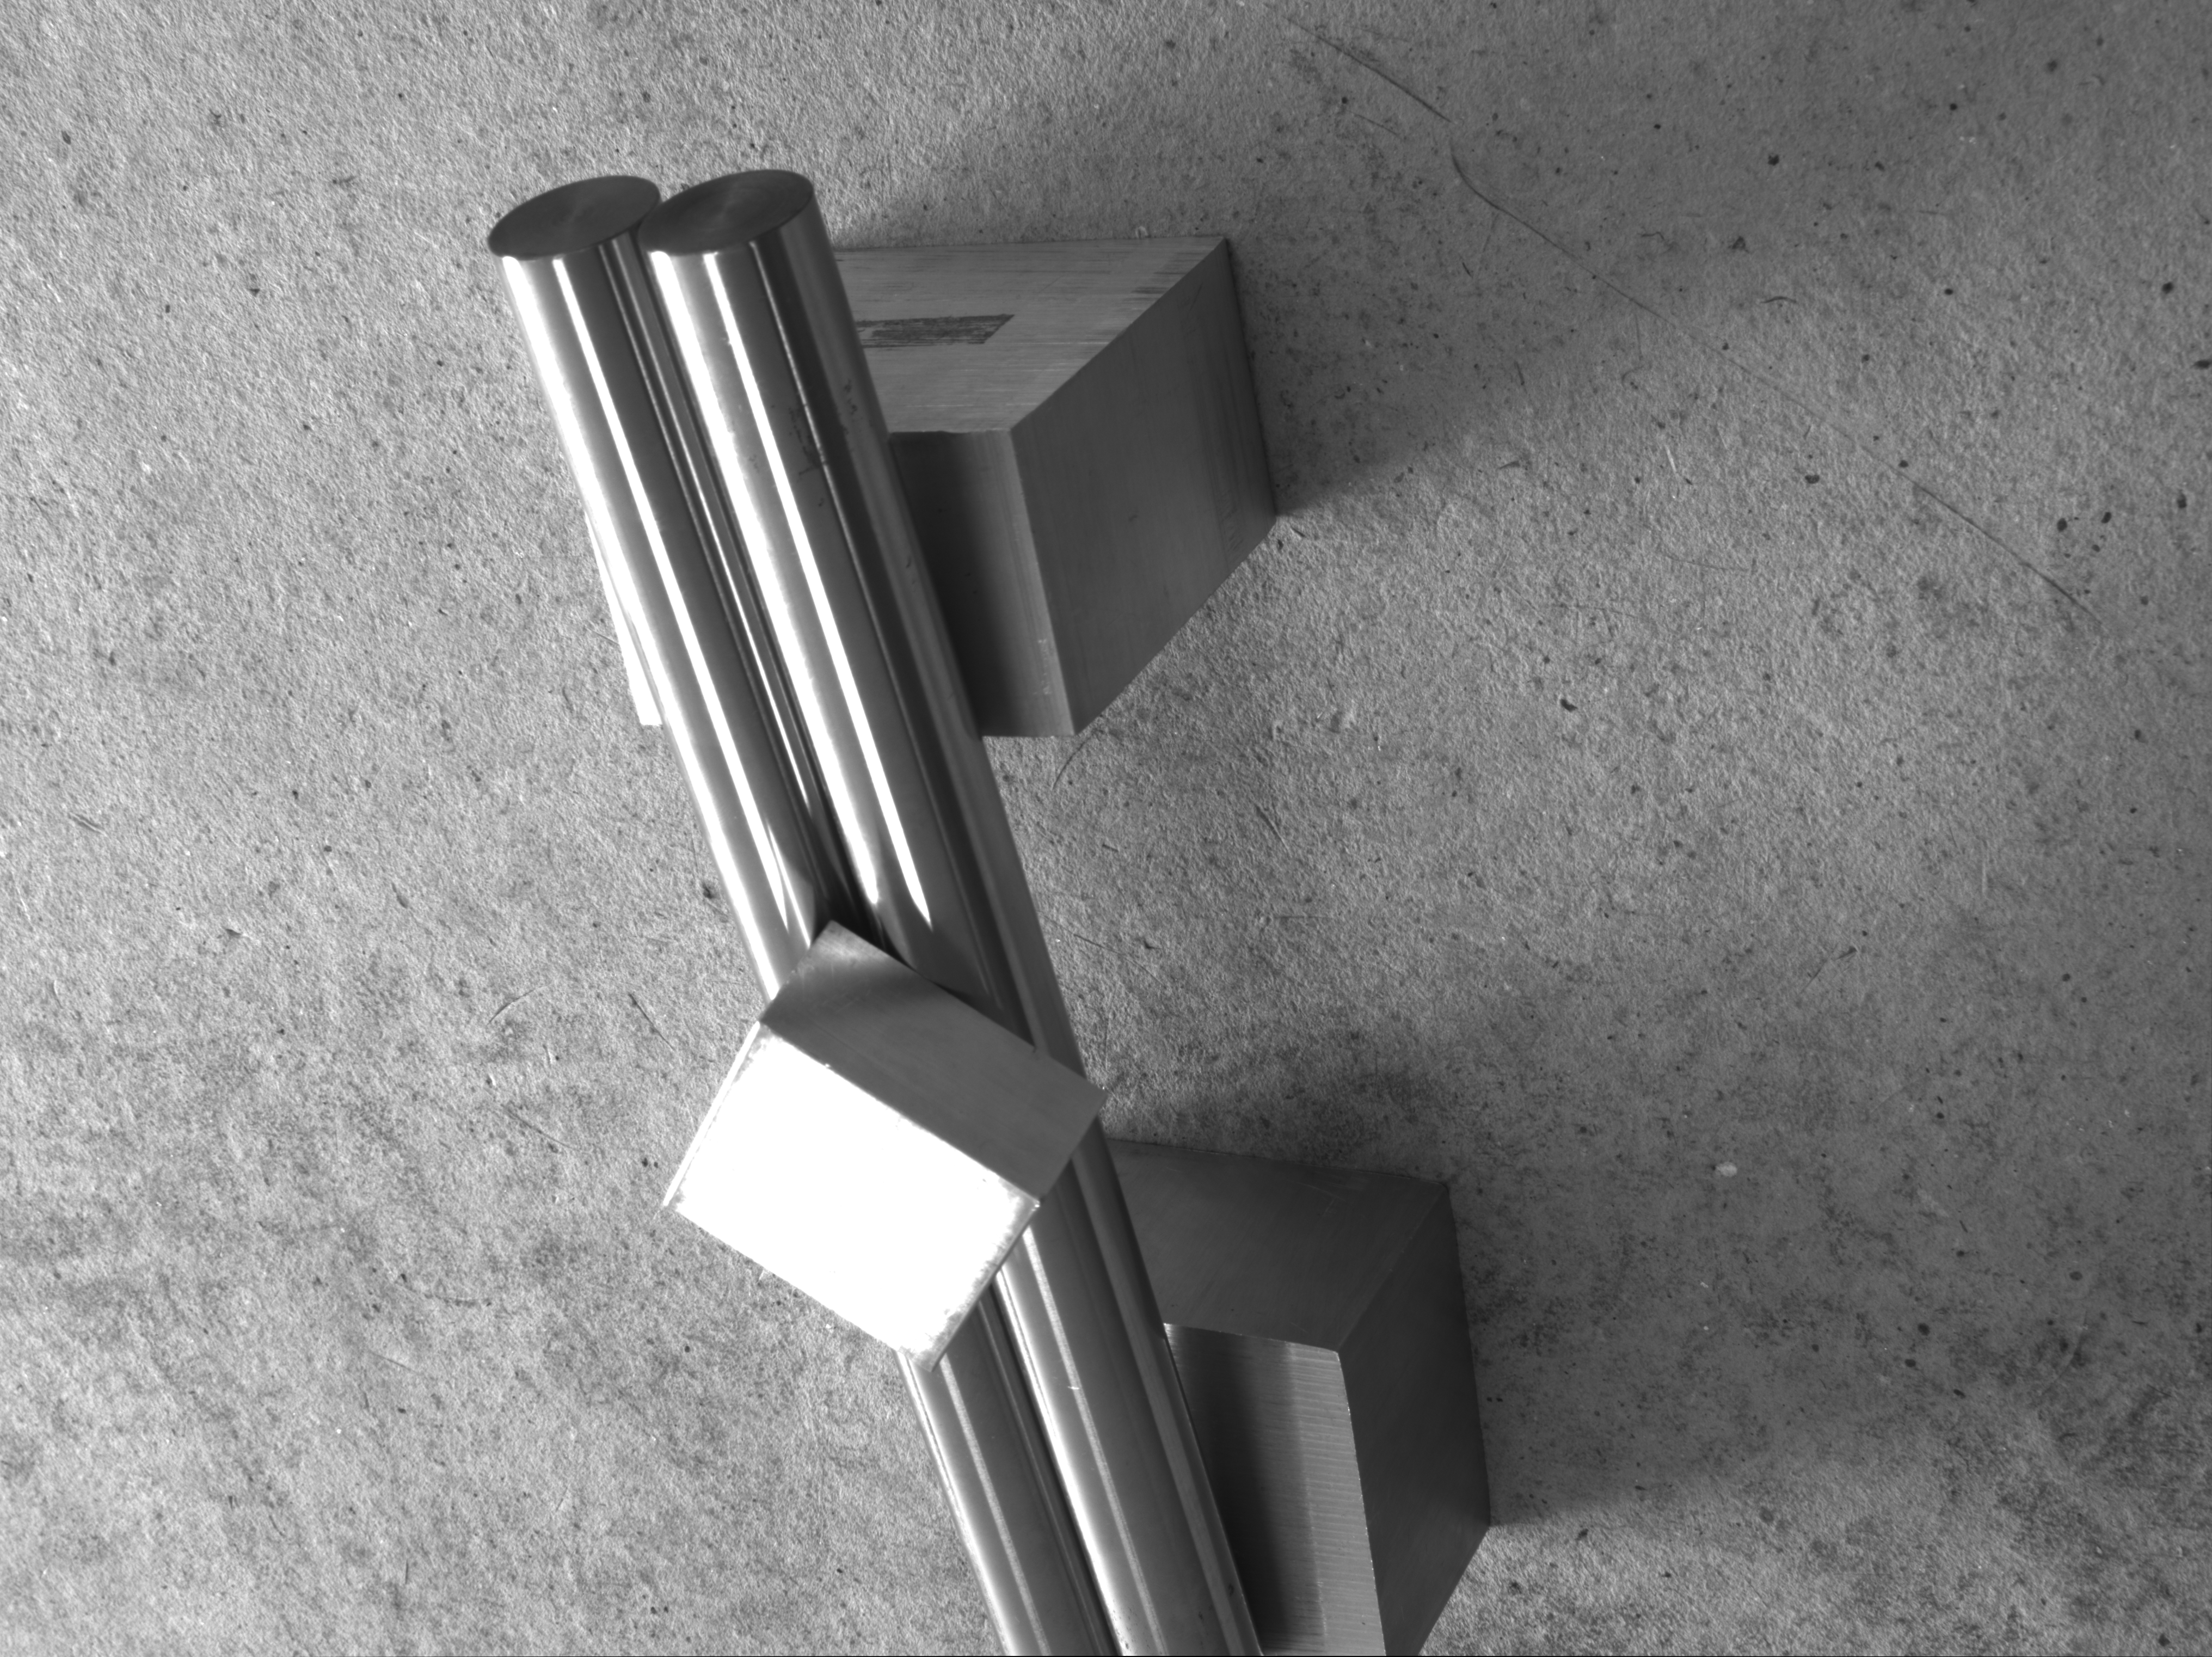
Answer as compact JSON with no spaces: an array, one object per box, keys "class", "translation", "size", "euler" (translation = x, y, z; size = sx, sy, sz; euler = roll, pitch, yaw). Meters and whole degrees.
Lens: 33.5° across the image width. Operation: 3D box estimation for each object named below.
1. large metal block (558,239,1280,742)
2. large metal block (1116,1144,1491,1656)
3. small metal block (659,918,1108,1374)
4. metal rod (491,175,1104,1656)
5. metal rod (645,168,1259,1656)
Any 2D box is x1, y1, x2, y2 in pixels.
[{"class":"large metal block","translation":[-0.028,-0.056,0.589],"size":[0.080,0.080,0.050],"euler":[3,120,27]},{"class":"large metal block","translation":[0.021,0.108,0.681],"size":[0.080,0.050,0.080],"euler":[5,120,26]},{"class":"small metal block","translation":[-0.035,0.049,0.566],"size":[0.050,0.025,0.050],"euler":[32,134,1]},{"class":"metal rod","translation":[-0.039,0.037,0.592],"size":[0.025,0.025,0.300],"euler":[3,127,27]},{"class":"metal rod","translation":[-0.016,0.038,0.581],"size":[0.025,0.025,0.300],"euler":[3,127,27]}]
